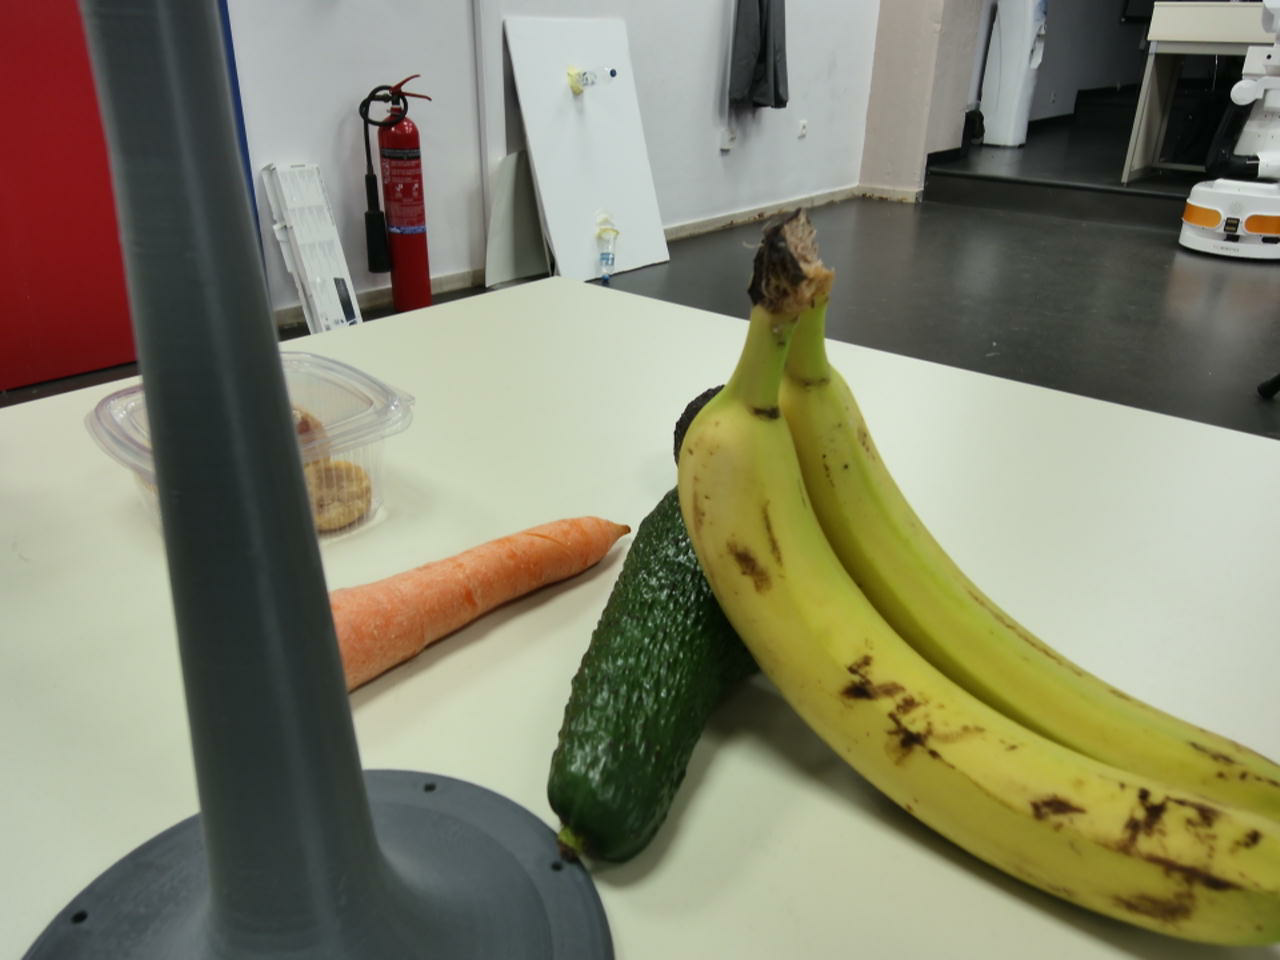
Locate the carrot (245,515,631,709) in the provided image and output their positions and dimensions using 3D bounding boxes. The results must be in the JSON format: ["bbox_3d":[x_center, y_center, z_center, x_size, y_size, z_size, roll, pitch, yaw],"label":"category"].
[{"bbox_3d":[-0.072,0.041,0.419,0.039,0.041,0.196,18,29,36],"label":"carrot"}]
